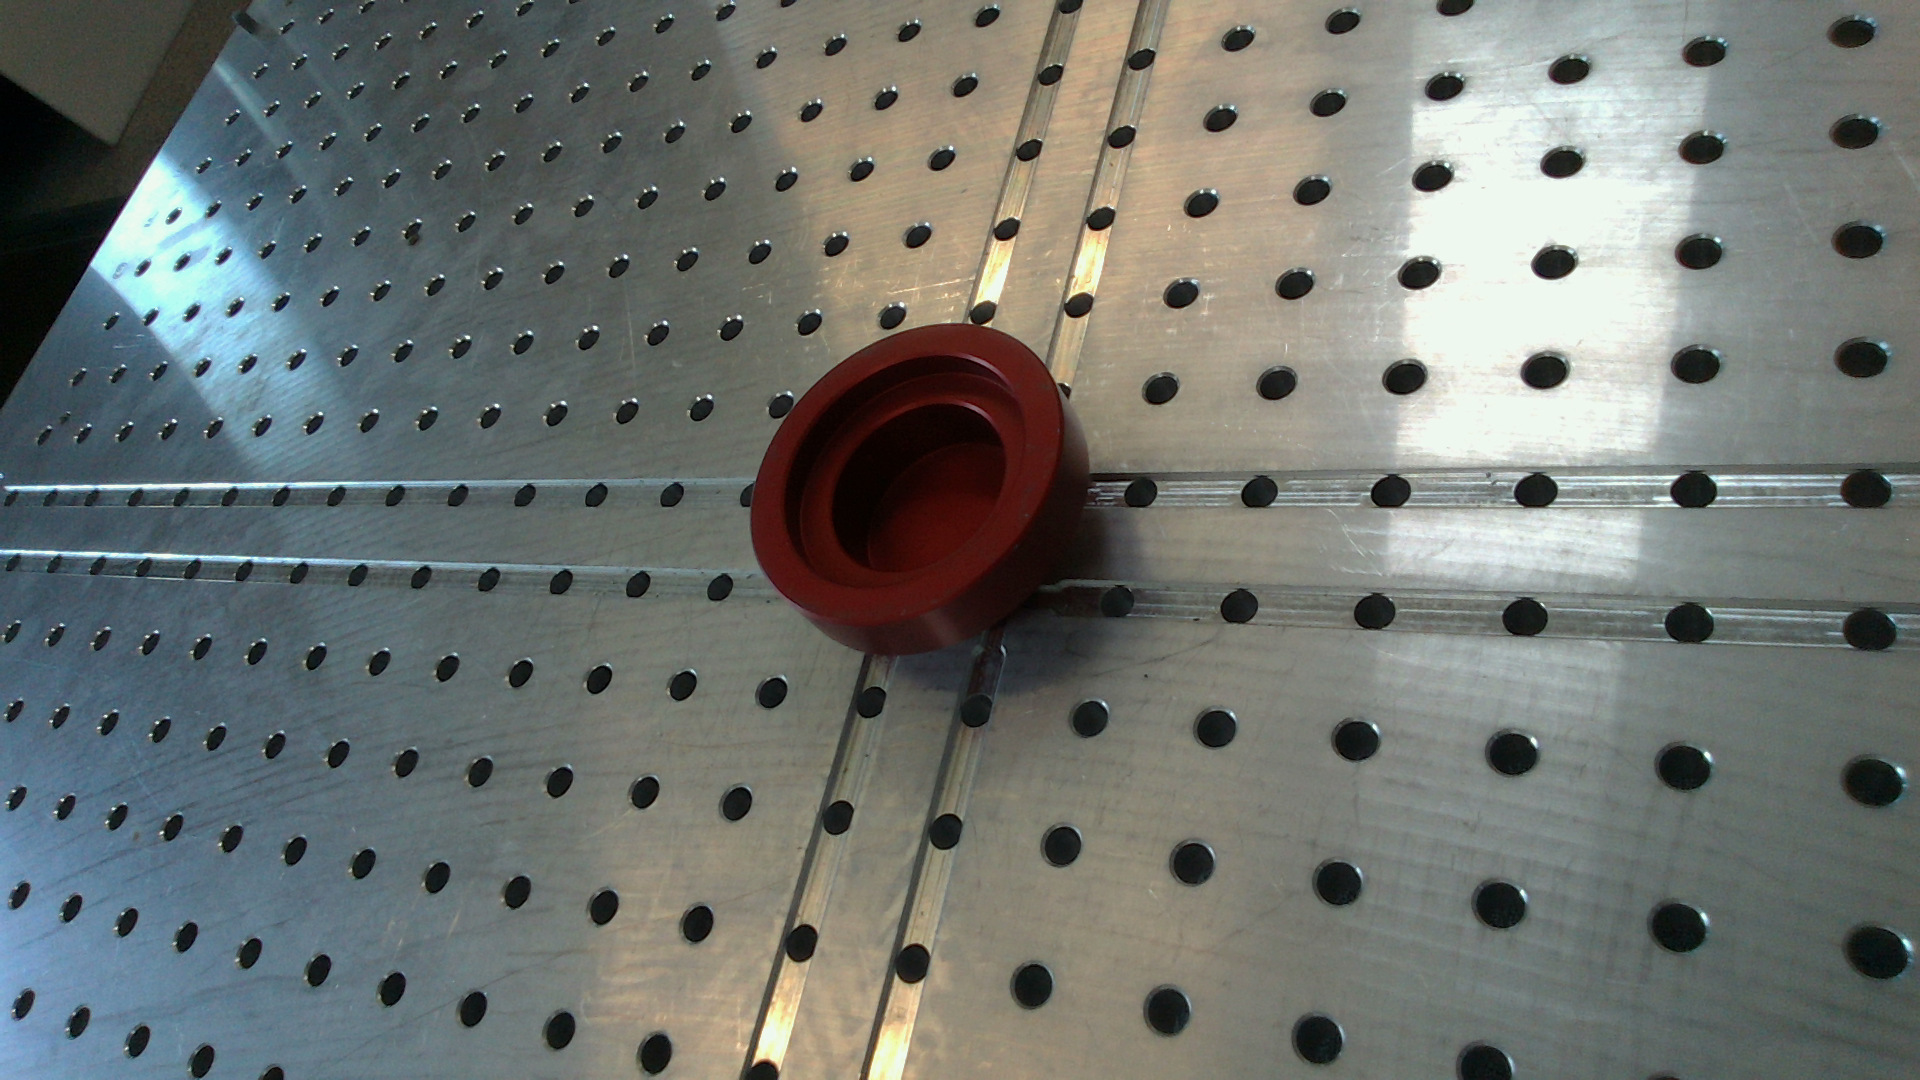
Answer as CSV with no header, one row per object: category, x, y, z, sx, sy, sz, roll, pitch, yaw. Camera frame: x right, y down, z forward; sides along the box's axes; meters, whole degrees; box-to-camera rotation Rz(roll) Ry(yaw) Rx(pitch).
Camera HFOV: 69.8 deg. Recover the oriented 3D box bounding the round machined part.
round machined part,-0.009,-0.011,0.397,0.098,0.042,0.098,-13,56,21
